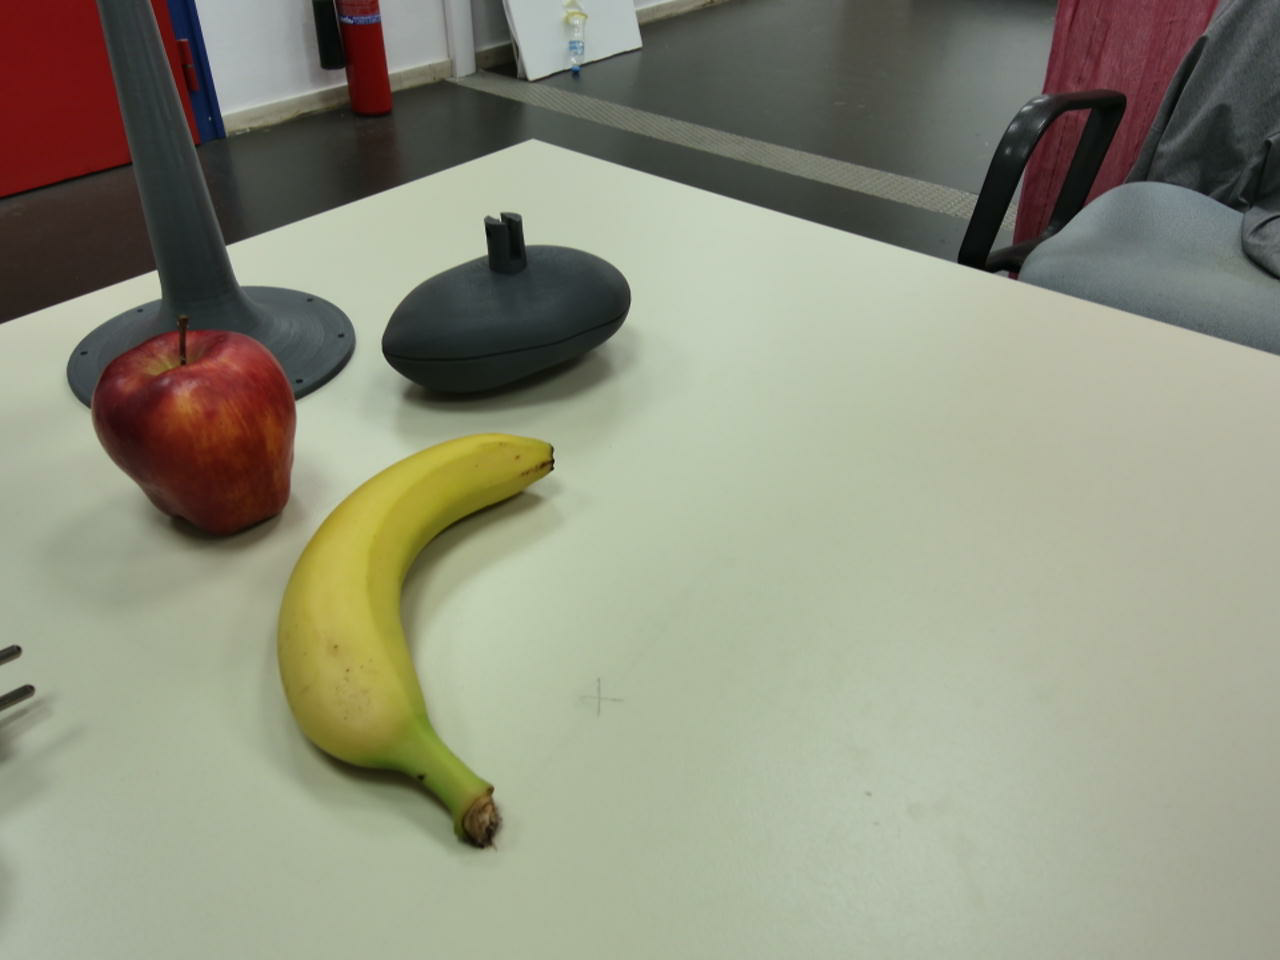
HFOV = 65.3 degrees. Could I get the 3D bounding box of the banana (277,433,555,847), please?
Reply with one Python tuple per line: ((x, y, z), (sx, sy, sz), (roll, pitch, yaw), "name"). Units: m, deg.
((-0.088, 0.042, 0.386), (0.094, 0.041, 0.196), (2, 35, 1), "banana")
